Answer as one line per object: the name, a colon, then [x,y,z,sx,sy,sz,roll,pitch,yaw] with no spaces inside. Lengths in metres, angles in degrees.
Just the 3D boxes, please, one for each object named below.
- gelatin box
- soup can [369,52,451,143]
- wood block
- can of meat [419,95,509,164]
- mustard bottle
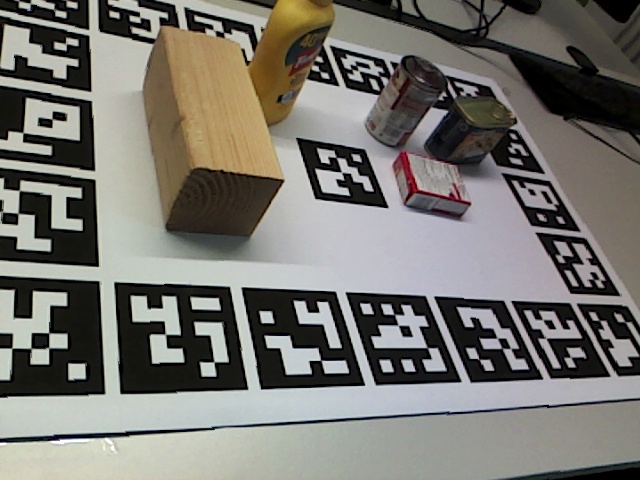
gelatin box: [0.148,-0.070,0.794,0.089,0.030,0.073,11,49,-20]
soup can: [0.118,-0.188,0.825,0.067,0.102,0.068,16,47,-18]
wood block: [-0.116,-0.110,0.632,0.090,0.090,0.207,6,45,-29]
can of meat: [0.201,-0.152,0.870,0.101,0.084,0.058,-8,57,-39]
mustard bottle: [-0.037,-0.215,0.708,0.096,0.192,0.058,-22,65,-44]
